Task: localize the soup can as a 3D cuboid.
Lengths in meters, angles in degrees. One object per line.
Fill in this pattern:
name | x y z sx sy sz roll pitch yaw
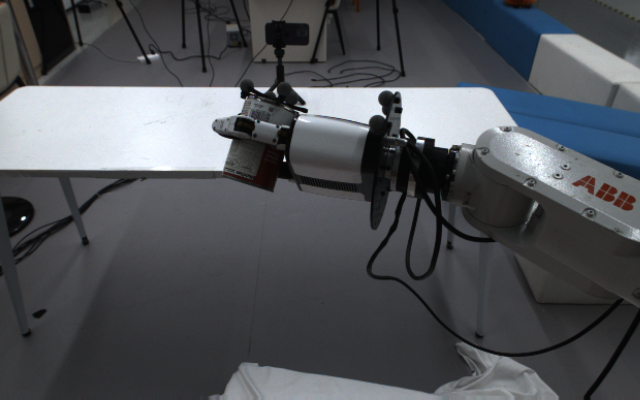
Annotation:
soup can | -0.073 -0.067 0.591 0.067 0.101 0.067 17 -1 0
